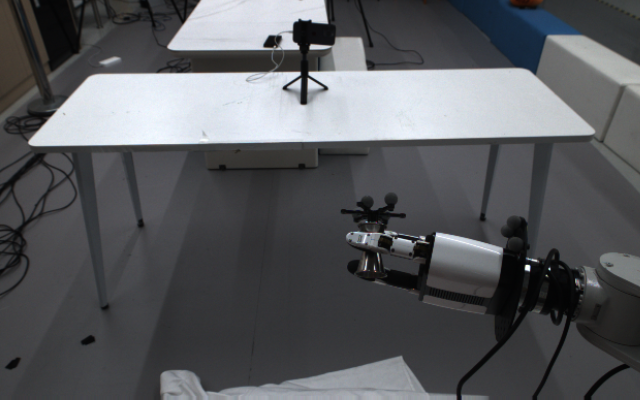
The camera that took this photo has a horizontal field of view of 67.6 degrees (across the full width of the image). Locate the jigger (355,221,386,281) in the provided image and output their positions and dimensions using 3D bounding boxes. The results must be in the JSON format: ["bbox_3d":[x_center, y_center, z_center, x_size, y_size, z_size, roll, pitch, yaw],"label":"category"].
[{"bbox_3d":[0.067,0.066,0.650,0.043,0.043,0.071,4,71,3],"label":"jigger"}]
